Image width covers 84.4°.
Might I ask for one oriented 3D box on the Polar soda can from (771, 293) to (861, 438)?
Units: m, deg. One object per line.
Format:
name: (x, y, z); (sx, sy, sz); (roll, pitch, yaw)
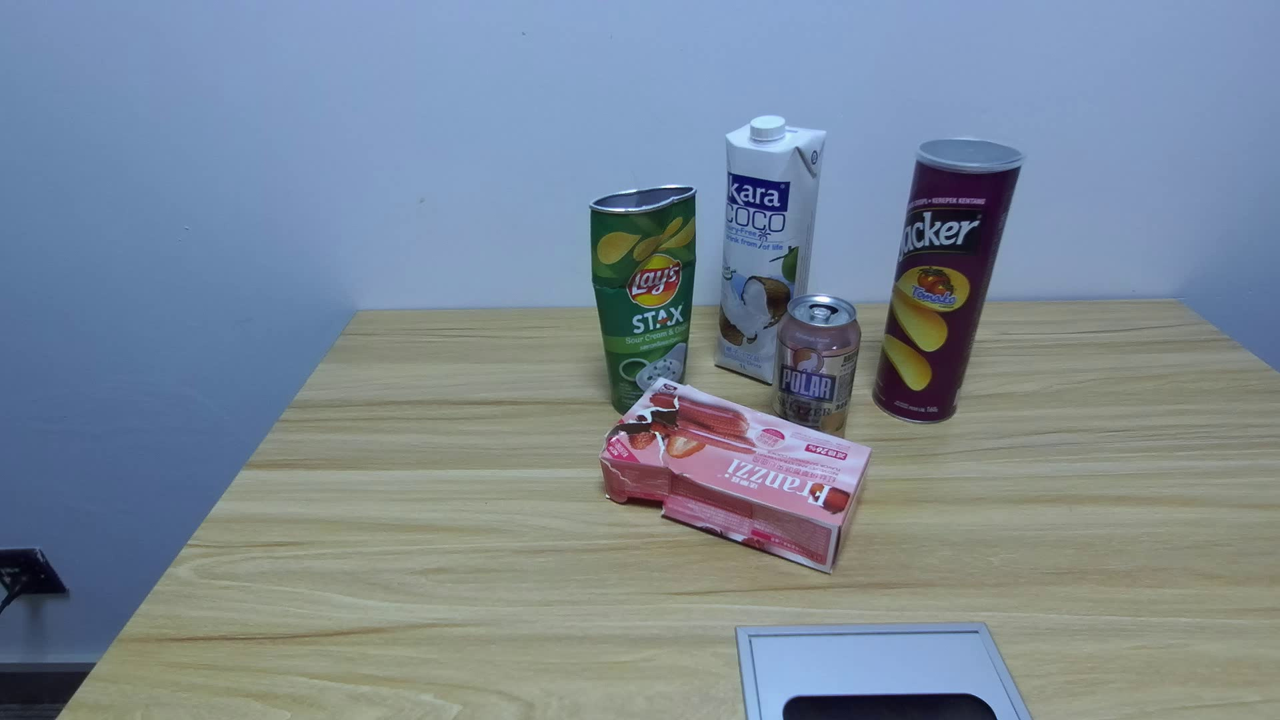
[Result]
Polar soda can: (0.148, 0.011, 0.596); (0.067, 0.126, 0.067); (-1, 31, 1)

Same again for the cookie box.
cookie box: (0.075, 0.082, 0.547); (0.185, 0.059, 0.105); (14, 38, 22)

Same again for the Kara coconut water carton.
Kara coconut water carton: (0.119, -0.101, 0.660); (0.076, 0.245, 0.075); (20, 36, 32)

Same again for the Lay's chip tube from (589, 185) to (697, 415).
Lay's chip tube: (0.006, -0.047, 0.617); (0.068, 0.200, 0.075); (15, 37, 24)

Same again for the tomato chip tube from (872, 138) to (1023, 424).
tomato chip tube: (0.258, -0.061, 0.607); (0.078, 0.234, 0.078); (-1, 32, 1)
